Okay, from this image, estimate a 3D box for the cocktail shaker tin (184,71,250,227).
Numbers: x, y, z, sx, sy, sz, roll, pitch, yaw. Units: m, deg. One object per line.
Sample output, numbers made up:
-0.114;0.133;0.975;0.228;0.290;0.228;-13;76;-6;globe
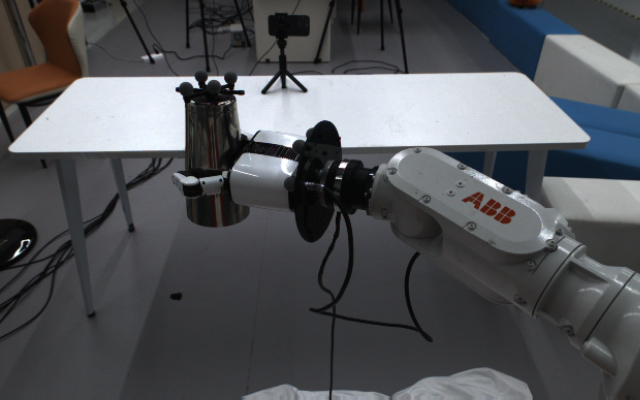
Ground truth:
-0.144;-0.059;0.669;0.093;0.170;0.093;2;28;-1;cocktail shaker tin
